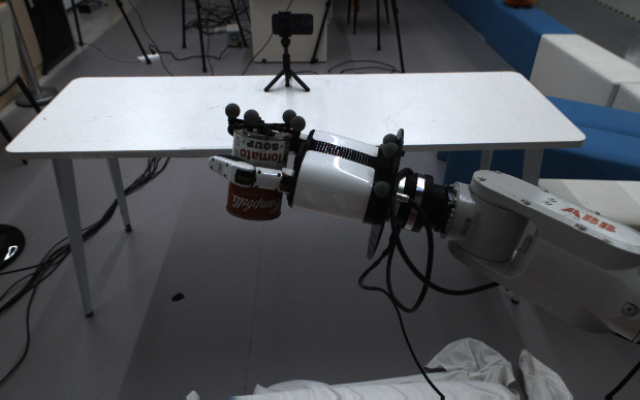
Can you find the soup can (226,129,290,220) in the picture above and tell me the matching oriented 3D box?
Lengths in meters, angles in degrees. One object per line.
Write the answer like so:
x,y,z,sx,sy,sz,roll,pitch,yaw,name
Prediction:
-0.073,-0.034,0.579,0.067,0.101,0.067,8,19,-3,soup can
